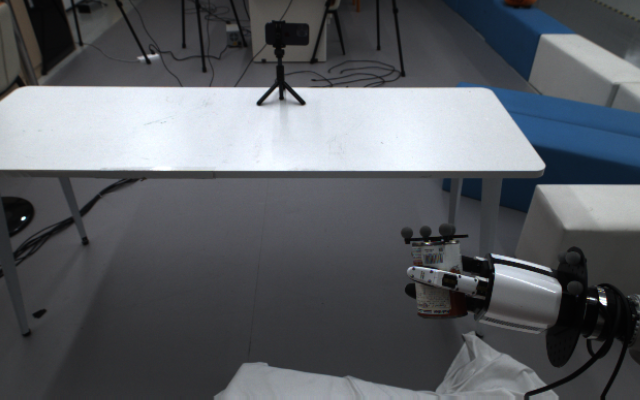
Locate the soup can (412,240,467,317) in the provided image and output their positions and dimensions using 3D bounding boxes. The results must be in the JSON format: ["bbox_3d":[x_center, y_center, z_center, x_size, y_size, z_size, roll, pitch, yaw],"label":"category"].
[{"bbox_3d":[0.168,0.108,0.672,0.067,0.101,0.067,-5,-5,0],"label":"soup can"}]
